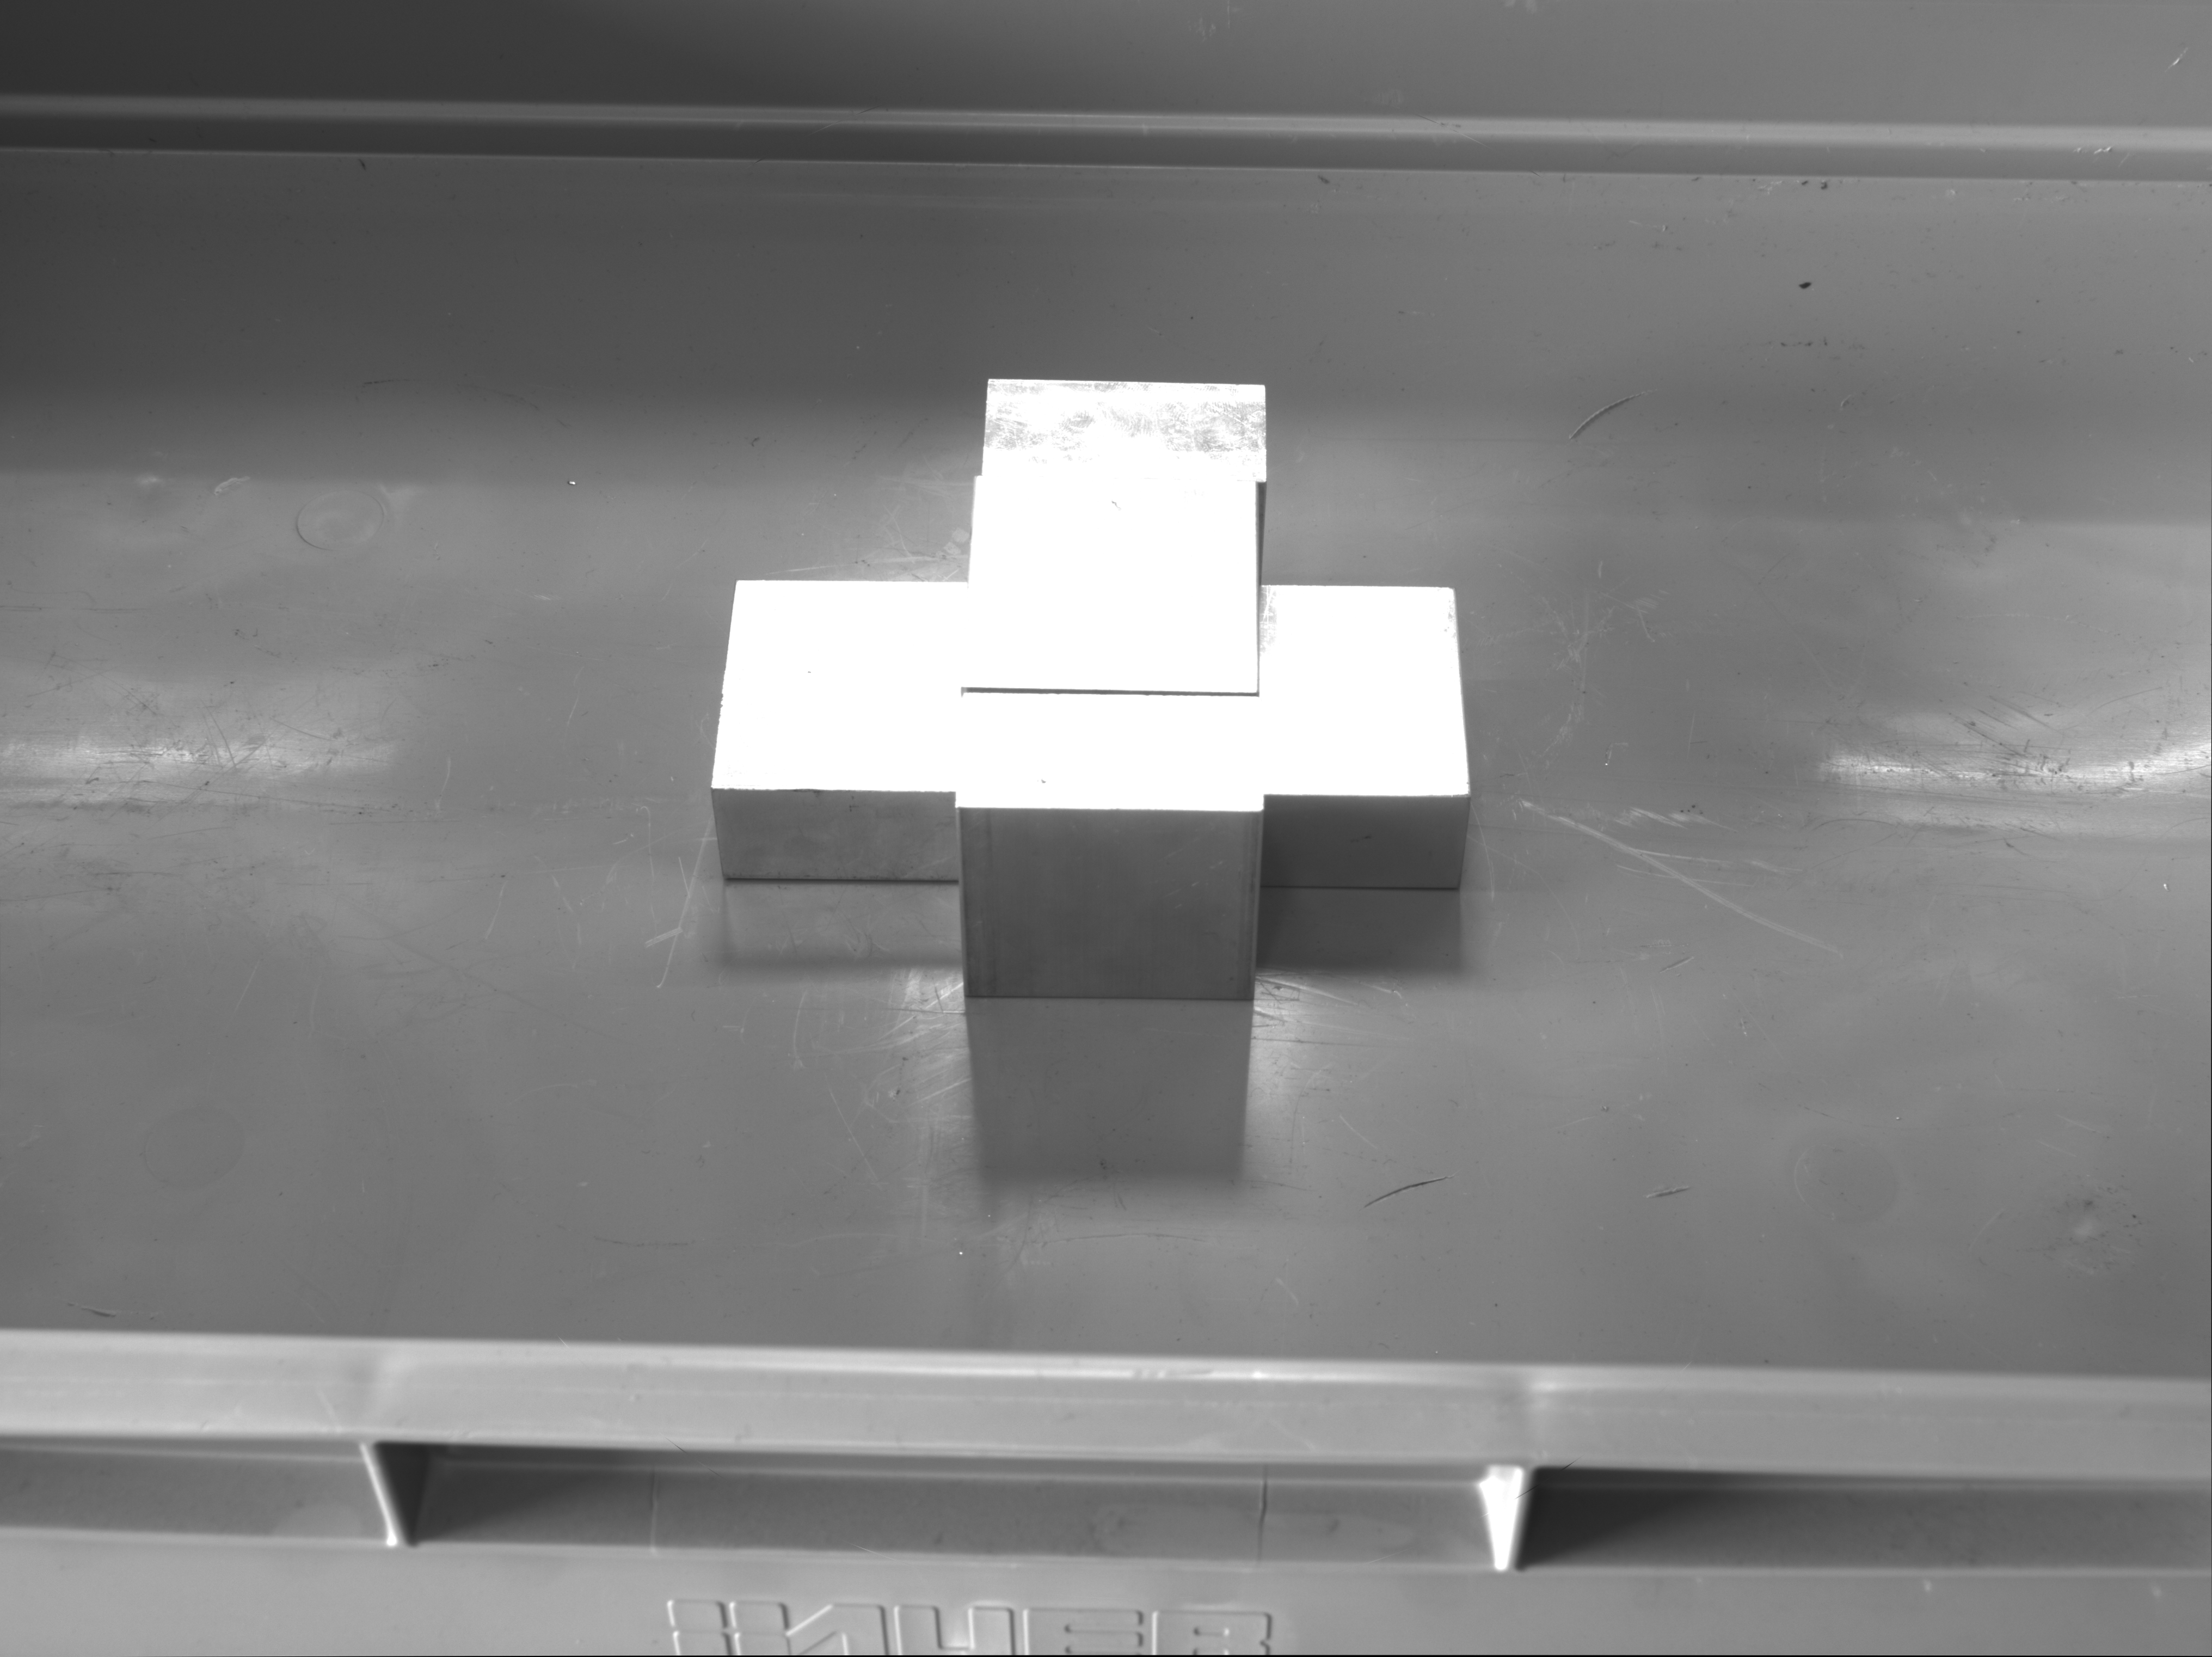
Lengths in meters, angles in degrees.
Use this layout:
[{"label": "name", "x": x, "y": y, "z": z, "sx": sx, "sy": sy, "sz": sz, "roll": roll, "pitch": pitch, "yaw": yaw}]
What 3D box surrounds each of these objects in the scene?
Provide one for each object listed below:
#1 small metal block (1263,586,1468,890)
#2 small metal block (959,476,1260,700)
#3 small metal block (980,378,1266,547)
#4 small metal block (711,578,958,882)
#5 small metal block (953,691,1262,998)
[{"label": "small metal block", "x": 0.038, "y": -0.017, "z": 0.654, "sx": 0.050, "sy": 0.025, "sz": 0.050, "roll": 1, "pitch": 50, "yaw": 0}, {"label": "small metal block", "x": 0.001, "y": -0.034, "z": 0.635, "sx": 0.050, "sy": 0.025, "sz": 0.050, "roll": 1, "pitch": 50, "yaw": 0}, {"label": "small metal block", "x": 0.003, "y": -0.055, "z": 0.669, "sx": 0.050, "sy": 0.050, "sz": 0.025, "roll": 1, "pitch": 50, "yaw": 1}, {"label": "small metal block", "x": -0.042, "y": -0.018, "z": 0.655, "sx": 0.050, "sy": 0.025, "sz": 0.050, "roll": 1, "pitch": 50, "yaw": 1}, {"label": "small metal block", "x": 0.001, "y": 0.003, "z": 0.619, "sx": 0.050, "sy": 0.050, "sz": 0.025, "roll": 1, "pitch": 50, "yaw": 1}]
